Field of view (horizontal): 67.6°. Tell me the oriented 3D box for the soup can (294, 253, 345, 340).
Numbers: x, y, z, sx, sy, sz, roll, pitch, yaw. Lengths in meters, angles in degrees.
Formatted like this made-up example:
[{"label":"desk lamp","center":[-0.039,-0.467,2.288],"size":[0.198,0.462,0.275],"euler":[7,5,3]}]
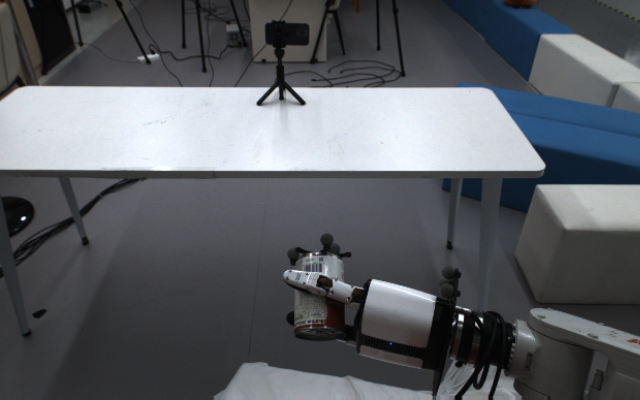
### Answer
[{"label":"soup can","center":[0.002,0.129,0.642],"size":[0.067,0.067,0.101],"euler":[0,62,-2]}]
